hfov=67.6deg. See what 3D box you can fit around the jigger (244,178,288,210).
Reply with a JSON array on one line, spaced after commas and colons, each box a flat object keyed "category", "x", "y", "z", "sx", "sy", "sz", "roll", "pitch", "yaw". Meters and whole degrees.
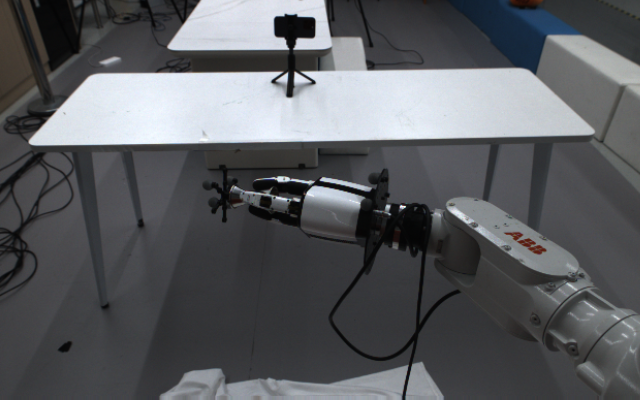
[{"category": "jigger", "x": -0.097, "y": -0.007, "z": 0.767, "sx": 0.071, "sy": 0.043, "sz": 0.043, "roll": 5, "pitch": 34, "yaw": 16}]
